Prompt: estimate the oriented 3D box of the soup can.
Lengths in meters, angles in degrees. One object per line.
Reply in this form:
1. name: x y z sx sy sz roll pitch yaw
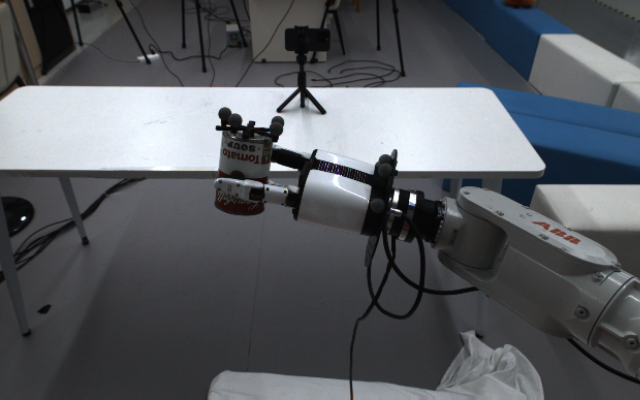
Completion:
1. soup can: -0.099 -0.038 0.636 0.067 0.101 0.067 9 20 -3
